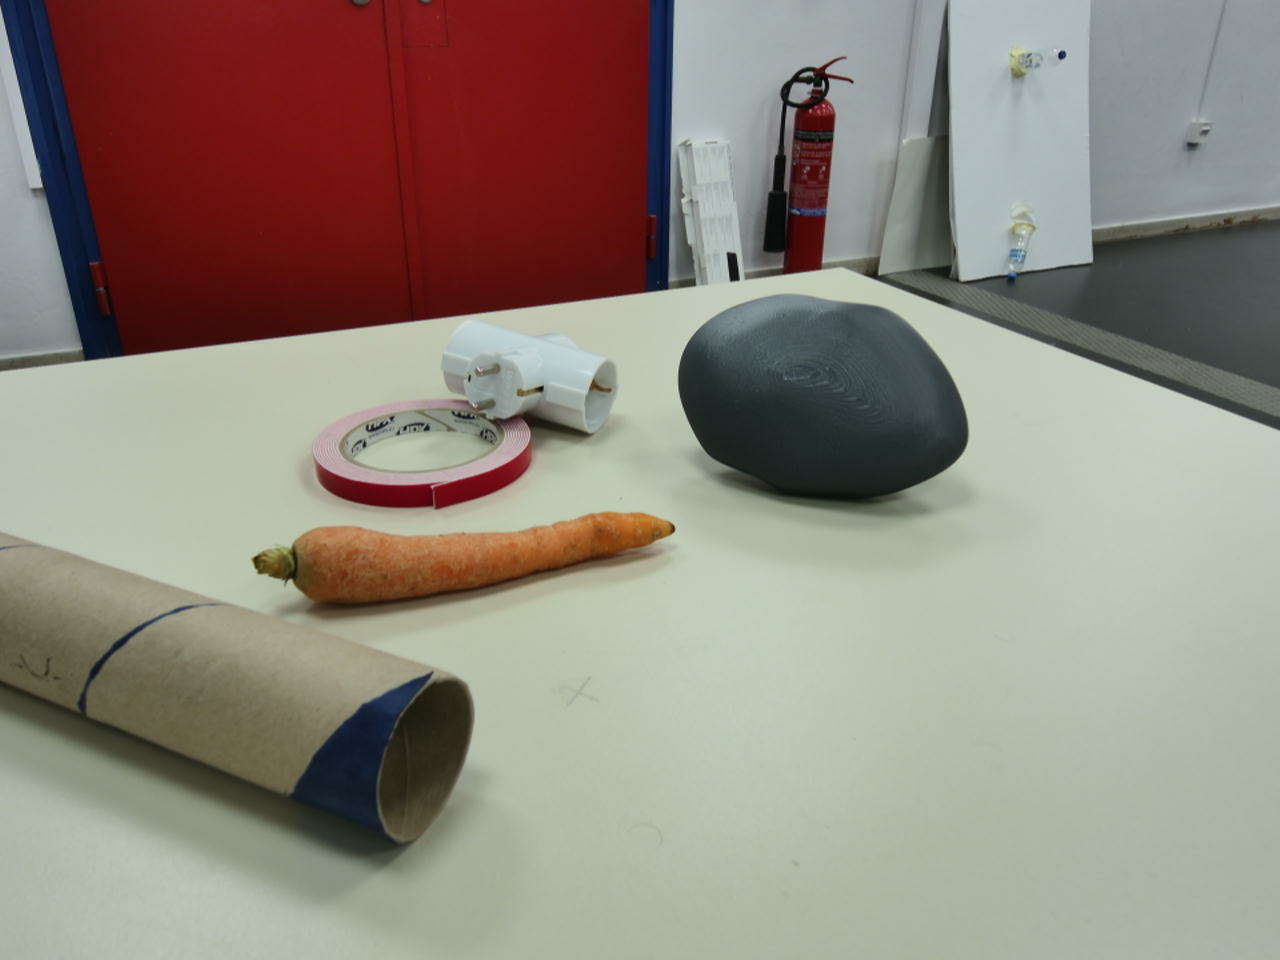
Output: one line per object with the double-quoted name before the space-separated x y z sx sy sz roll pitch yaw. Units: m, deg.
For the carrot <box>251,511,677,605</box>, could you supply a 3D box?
"carrot" -0.064 0.027 0.405 0.173 0.032 0.030 -7 25 -16
